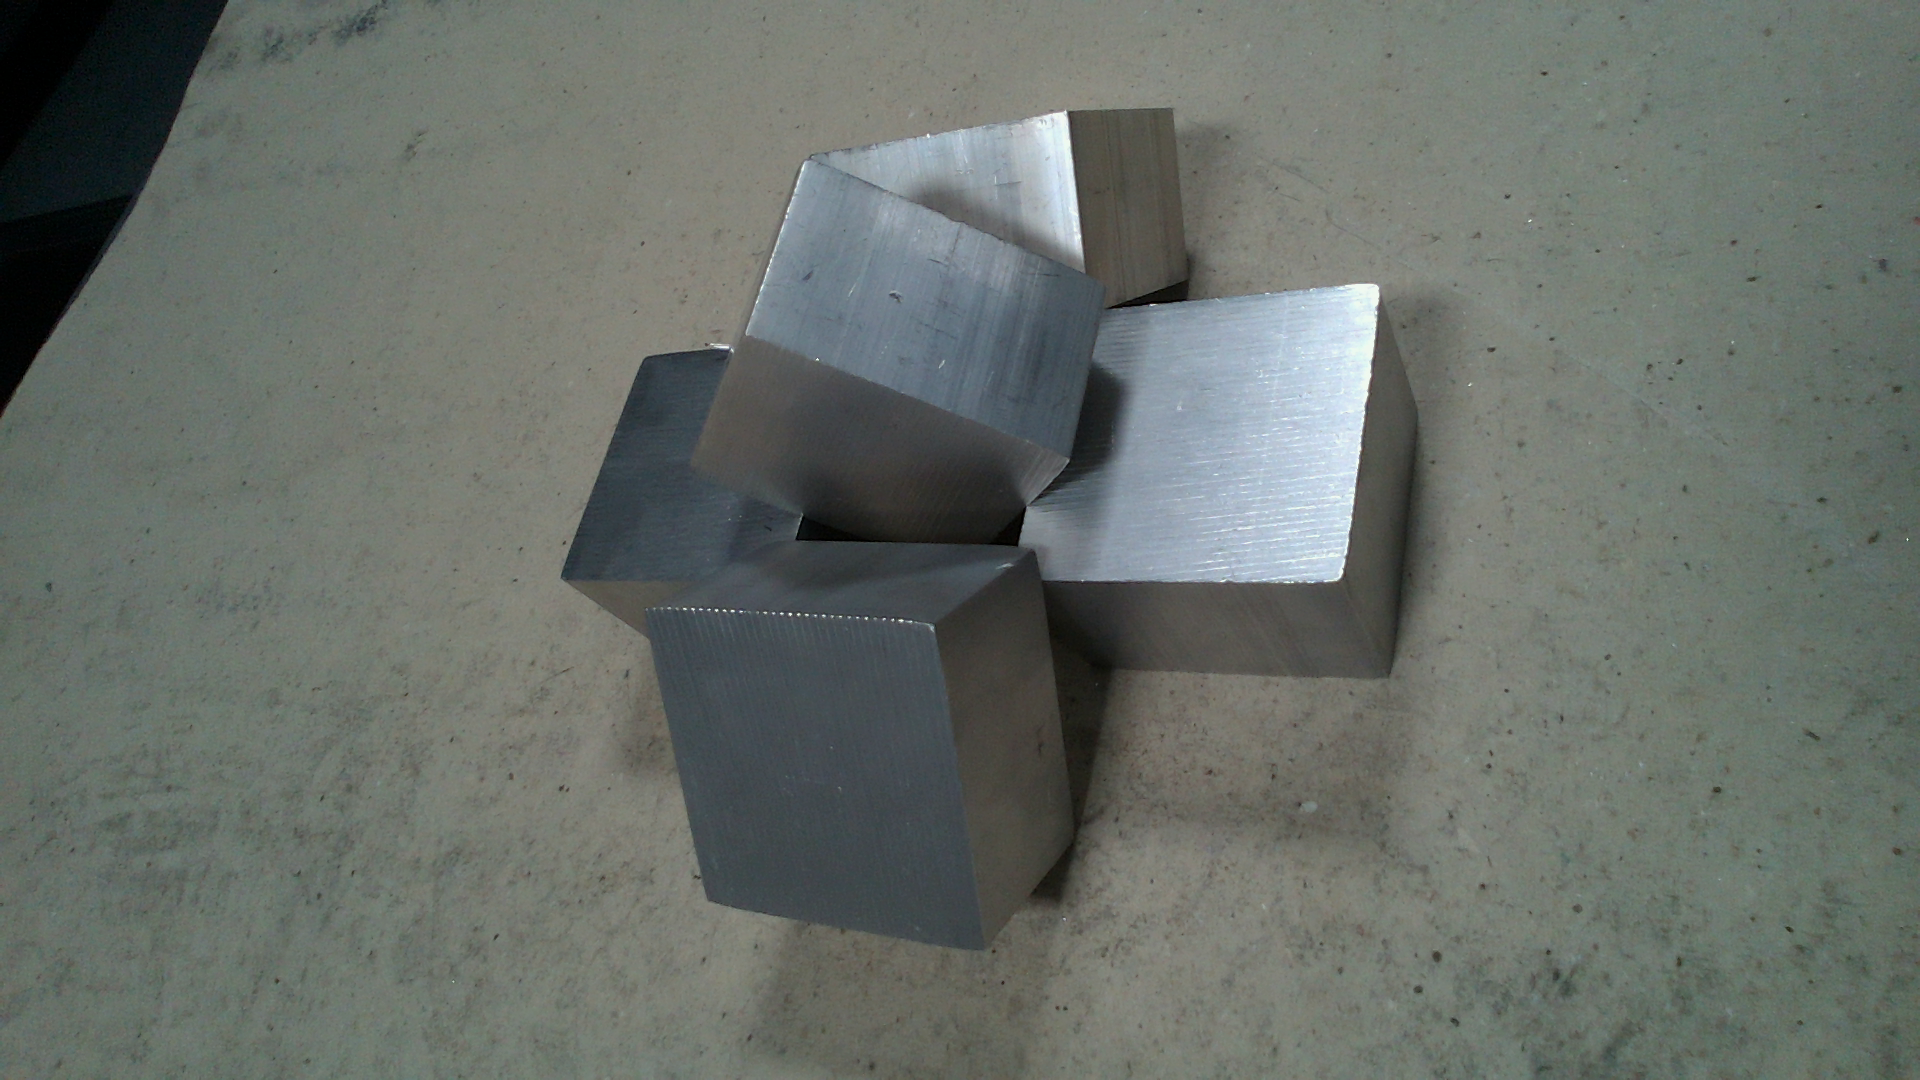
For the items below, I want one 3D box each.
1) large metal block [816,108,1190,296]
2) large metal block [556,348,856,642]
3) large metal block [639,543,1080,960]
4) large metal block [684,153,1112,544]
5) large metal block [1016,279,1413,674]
[{"bbox_3d":[0.014,-0.094,0.401,0.080,0.080,0.050,-1,105,29],"label":"large metal block"},{"bbox_3d":[-0.064,-0.012,0.420,0.080,0.050,0.080,-1,61,28],"label":"large metal block"},{"bbox_3d":[-0.022,0.047,0.334,0.080,0.080,0.050,0,19,30],"label":"large metal block"},{"bbox_3d":[-0.018,-0.040,0.351,0.080,0.080,0.050,135,152,-61],"label":"large metal block"},{"bbox_3d":[0.066,-0.015,0.348,0.080,0.050,0.080,0,62,28],"label":"large metal block"}]
